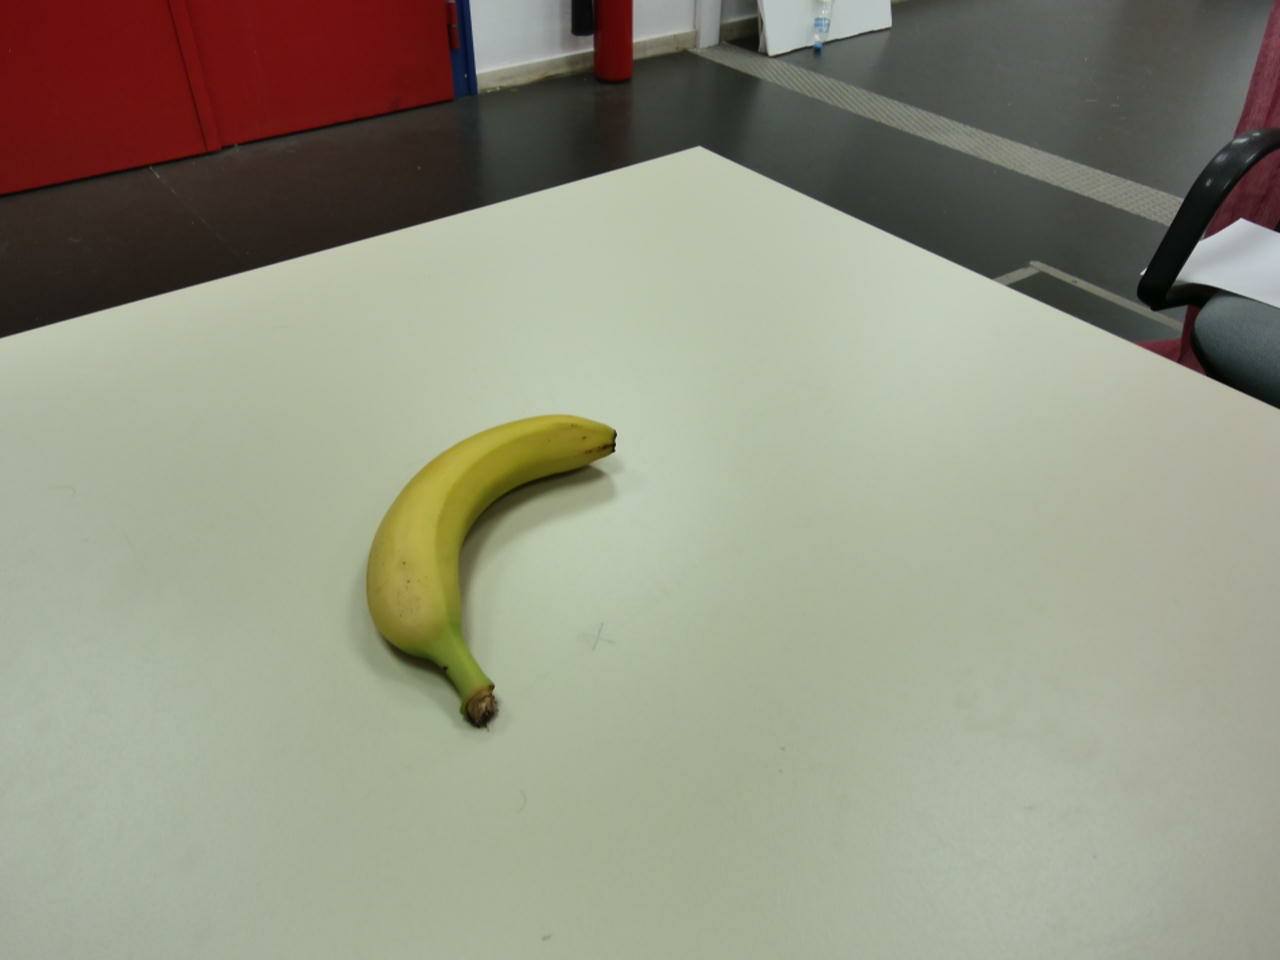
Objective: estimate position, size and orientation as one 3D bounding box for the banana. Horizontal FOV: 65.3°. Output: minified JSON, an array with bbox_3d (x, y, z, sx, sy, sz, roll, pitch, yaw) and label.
[{"bbox_3d":[-0.080,0.025,0.494,0.094,0.041,0.196,11,38,12],"label":"banana"}]
